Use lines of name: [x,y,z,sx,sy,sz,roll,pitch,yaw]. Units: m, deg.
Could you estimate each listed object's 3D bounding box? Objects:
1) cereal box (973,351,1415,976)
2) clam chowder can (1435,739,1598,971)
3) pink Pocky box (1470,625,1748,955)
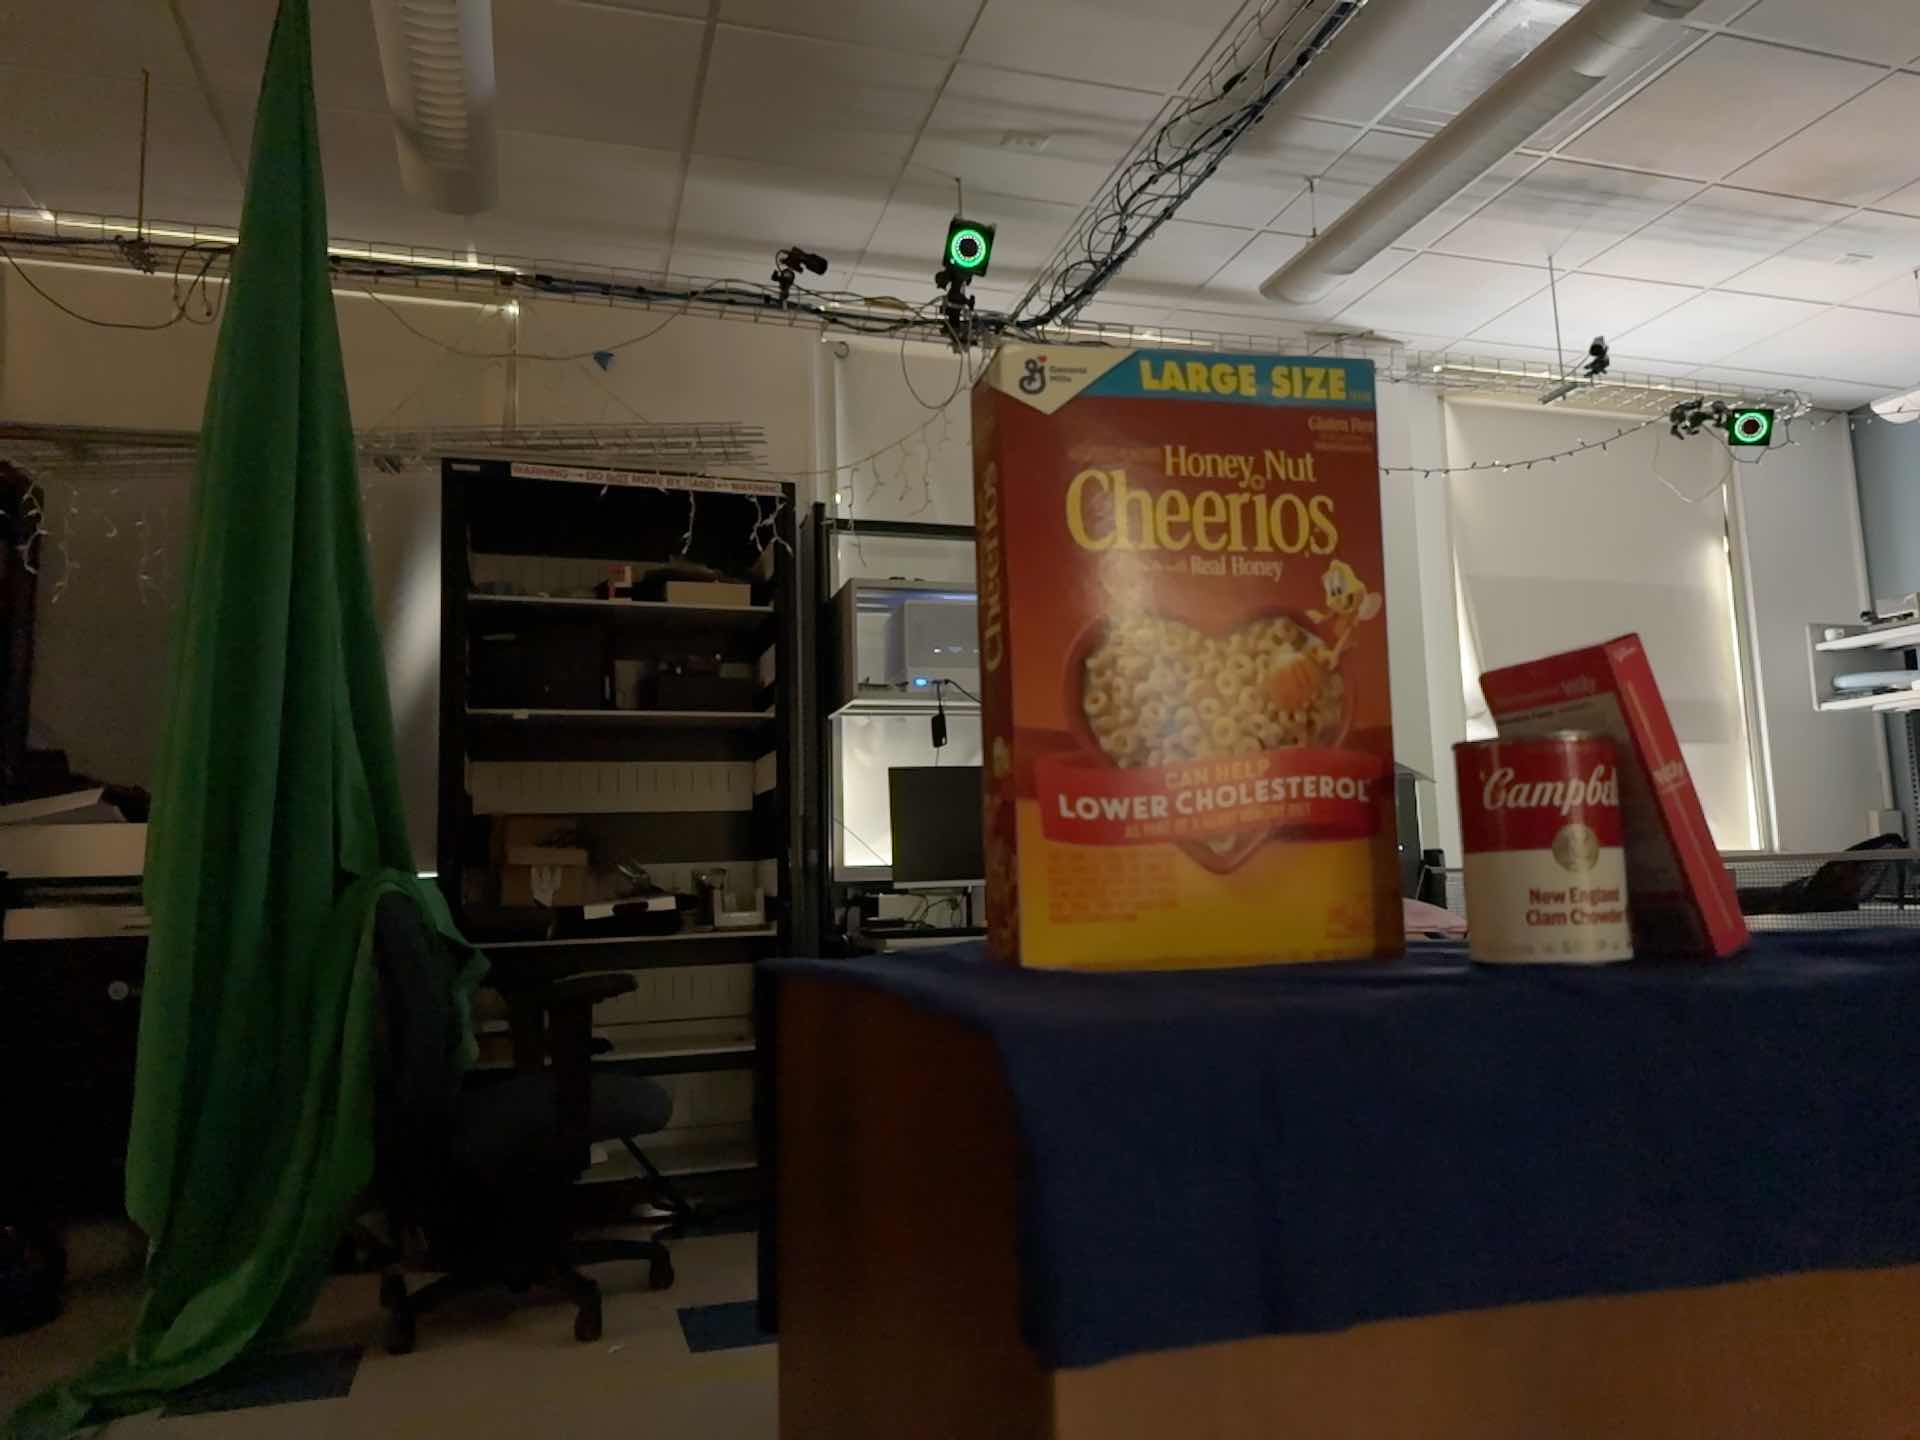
cereal box: [0.113,-0.030,0.683,0.195,0.297,0.065,0,-6,-9]
clam chowder can: [0.258,0.063,0.626,0.068,0.102,0.068,1,-6,0]
pink Pocky box: [0.311,0.036,0.652,0.029,0.155,0.084,-21,0,-22]
